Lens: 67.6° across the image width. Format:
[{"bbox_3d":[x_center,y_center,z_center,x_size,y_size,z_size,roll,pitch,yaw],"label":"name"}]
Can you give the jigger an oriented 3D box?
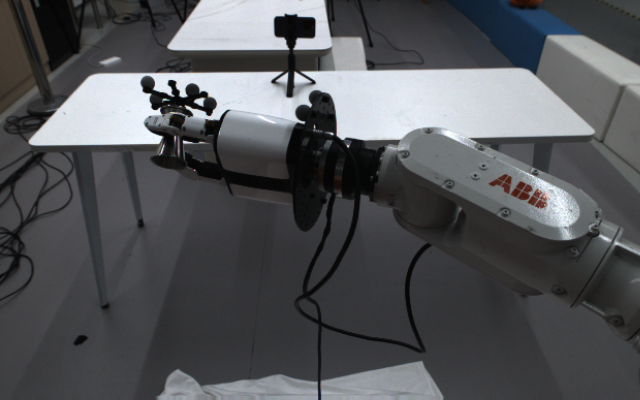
[{"bbox_3d":[-0.182,-0.078,0.595,0.043,0.043,0.071,3,73,1],"label":"jigger"}]
